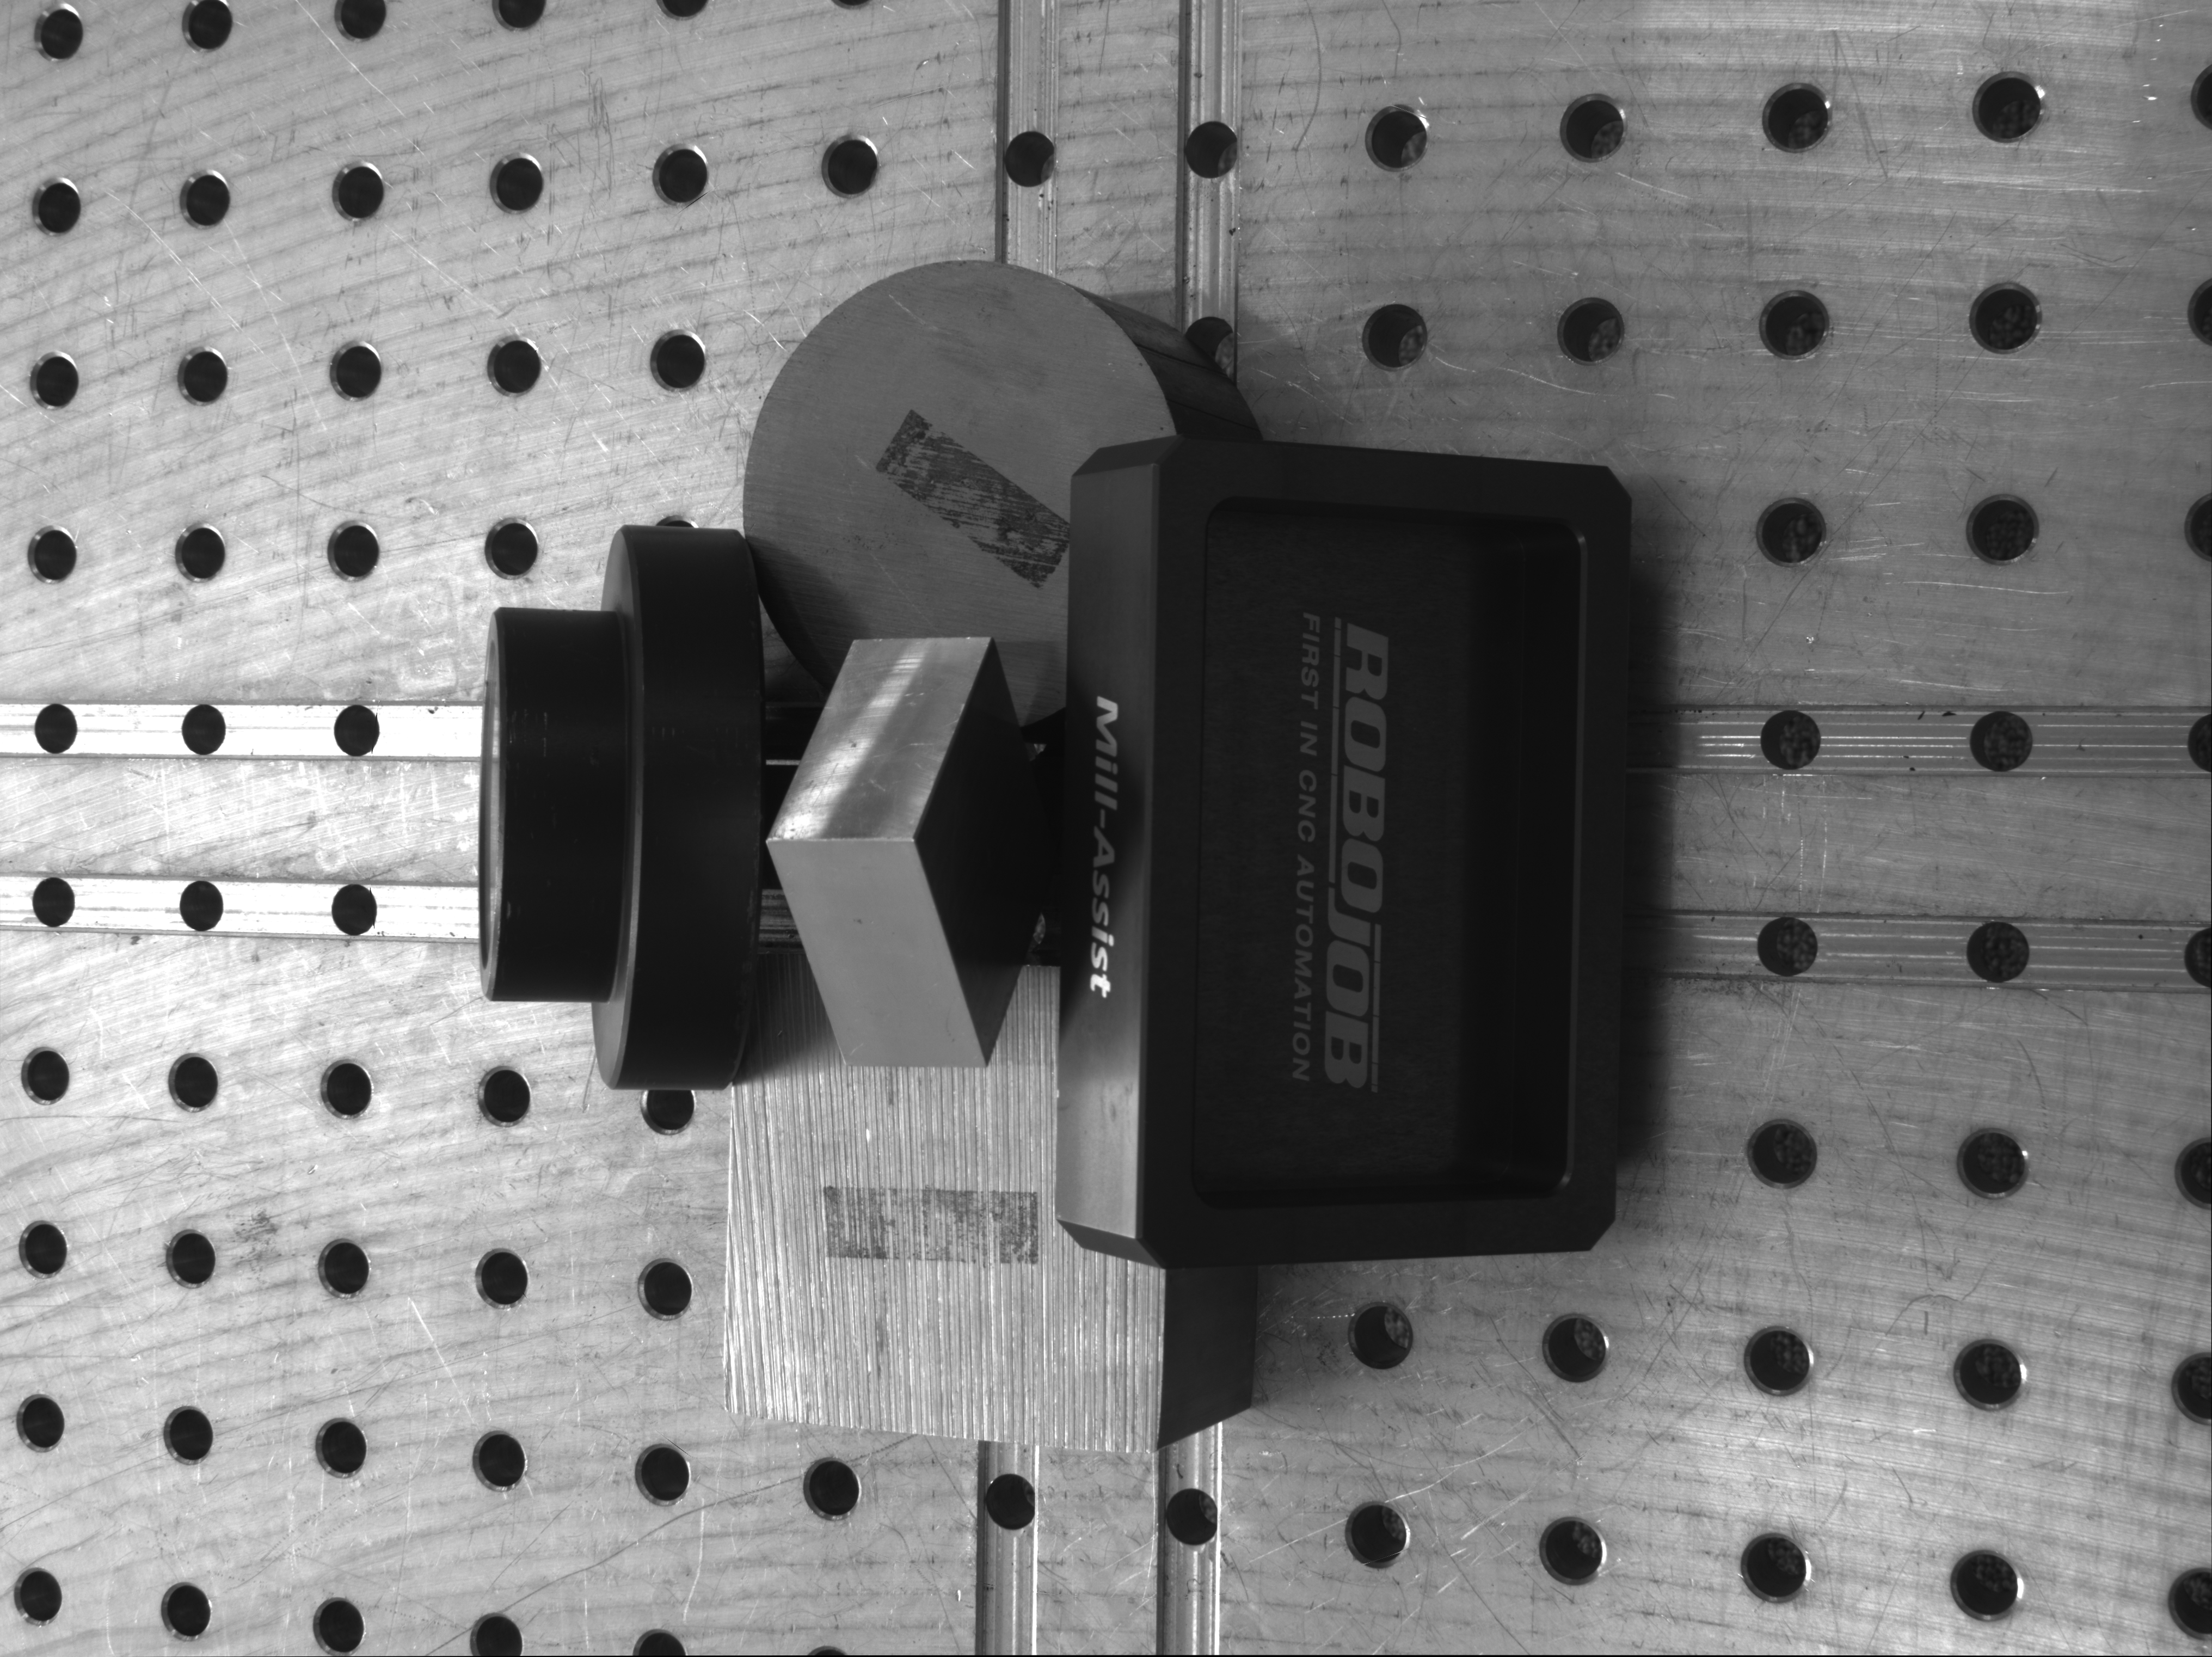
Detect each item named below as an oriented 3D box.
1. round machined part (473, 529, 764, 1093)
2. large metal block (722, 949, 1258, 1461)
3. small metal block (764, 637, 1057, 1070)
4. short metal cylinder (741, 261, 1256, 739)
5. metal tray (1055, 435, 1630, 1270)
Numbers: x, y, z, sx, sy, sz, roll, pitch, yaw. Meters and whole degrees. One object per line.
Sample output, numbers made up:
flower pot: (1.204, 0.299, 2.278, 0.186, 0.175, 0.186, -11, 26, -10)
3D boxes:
round machined part: (-0.087, -0.003, 0.637, 0.042, 0.098, 0.098, 1, 90, -13)
large metal block: (-0.019, 0.063, 0.642, 0.080, 0.050, 0.080, 2, 91, 20)
small metal block: (-0.031, 0.004, 0.602, 0.025, 0.050, 0.050, 0, 132, 17)
short metal cylinder: (-0.017, -0.055, 0.640, 0.080, 0.050, 0.080, 0, 90, 20)
metal tray: (0.039, 0.004, 0.601, 0.030, 0.090, 0.130, 1, 90, 63)
